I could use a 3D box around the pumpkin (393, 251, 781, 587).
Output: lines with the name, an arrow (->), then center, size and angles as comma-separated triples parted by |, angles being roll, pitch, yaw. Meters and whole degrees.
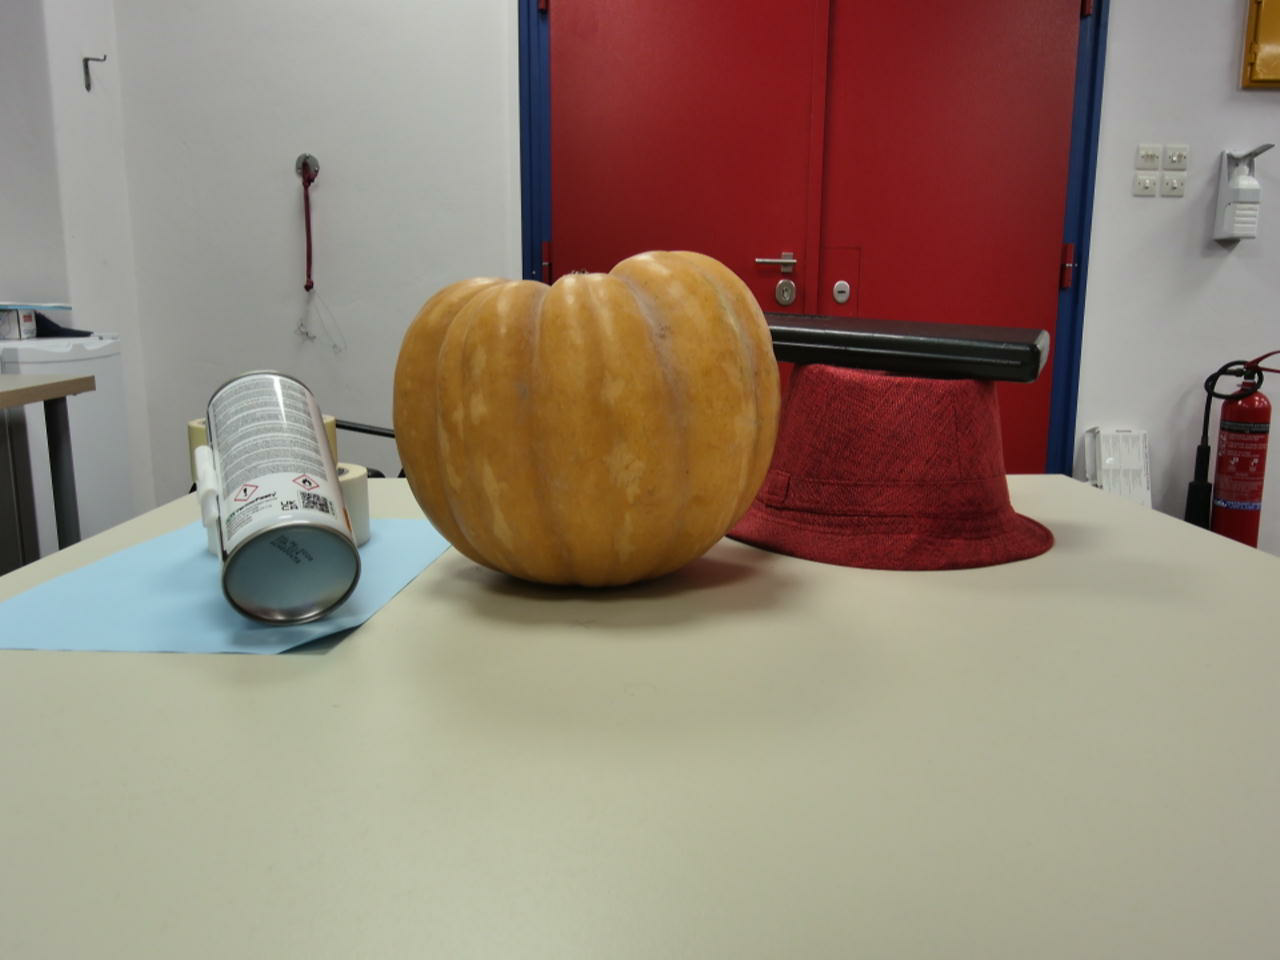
pumpkin -> -0.028, -0.037, 0.600 | 0.230, 0.194, 0.230 | -1, 8, 0
